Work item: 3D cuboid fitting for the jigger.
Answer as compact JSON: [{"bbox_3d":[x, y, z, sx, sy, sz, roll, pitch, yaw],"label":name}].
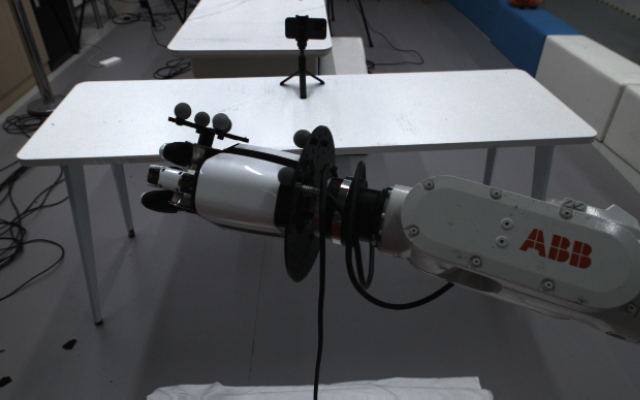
[{"bbox_3d":[-0.131,-0.025,0.518,0.043,0.071,0.043,17,2,-1],"label":"jigger"}]
